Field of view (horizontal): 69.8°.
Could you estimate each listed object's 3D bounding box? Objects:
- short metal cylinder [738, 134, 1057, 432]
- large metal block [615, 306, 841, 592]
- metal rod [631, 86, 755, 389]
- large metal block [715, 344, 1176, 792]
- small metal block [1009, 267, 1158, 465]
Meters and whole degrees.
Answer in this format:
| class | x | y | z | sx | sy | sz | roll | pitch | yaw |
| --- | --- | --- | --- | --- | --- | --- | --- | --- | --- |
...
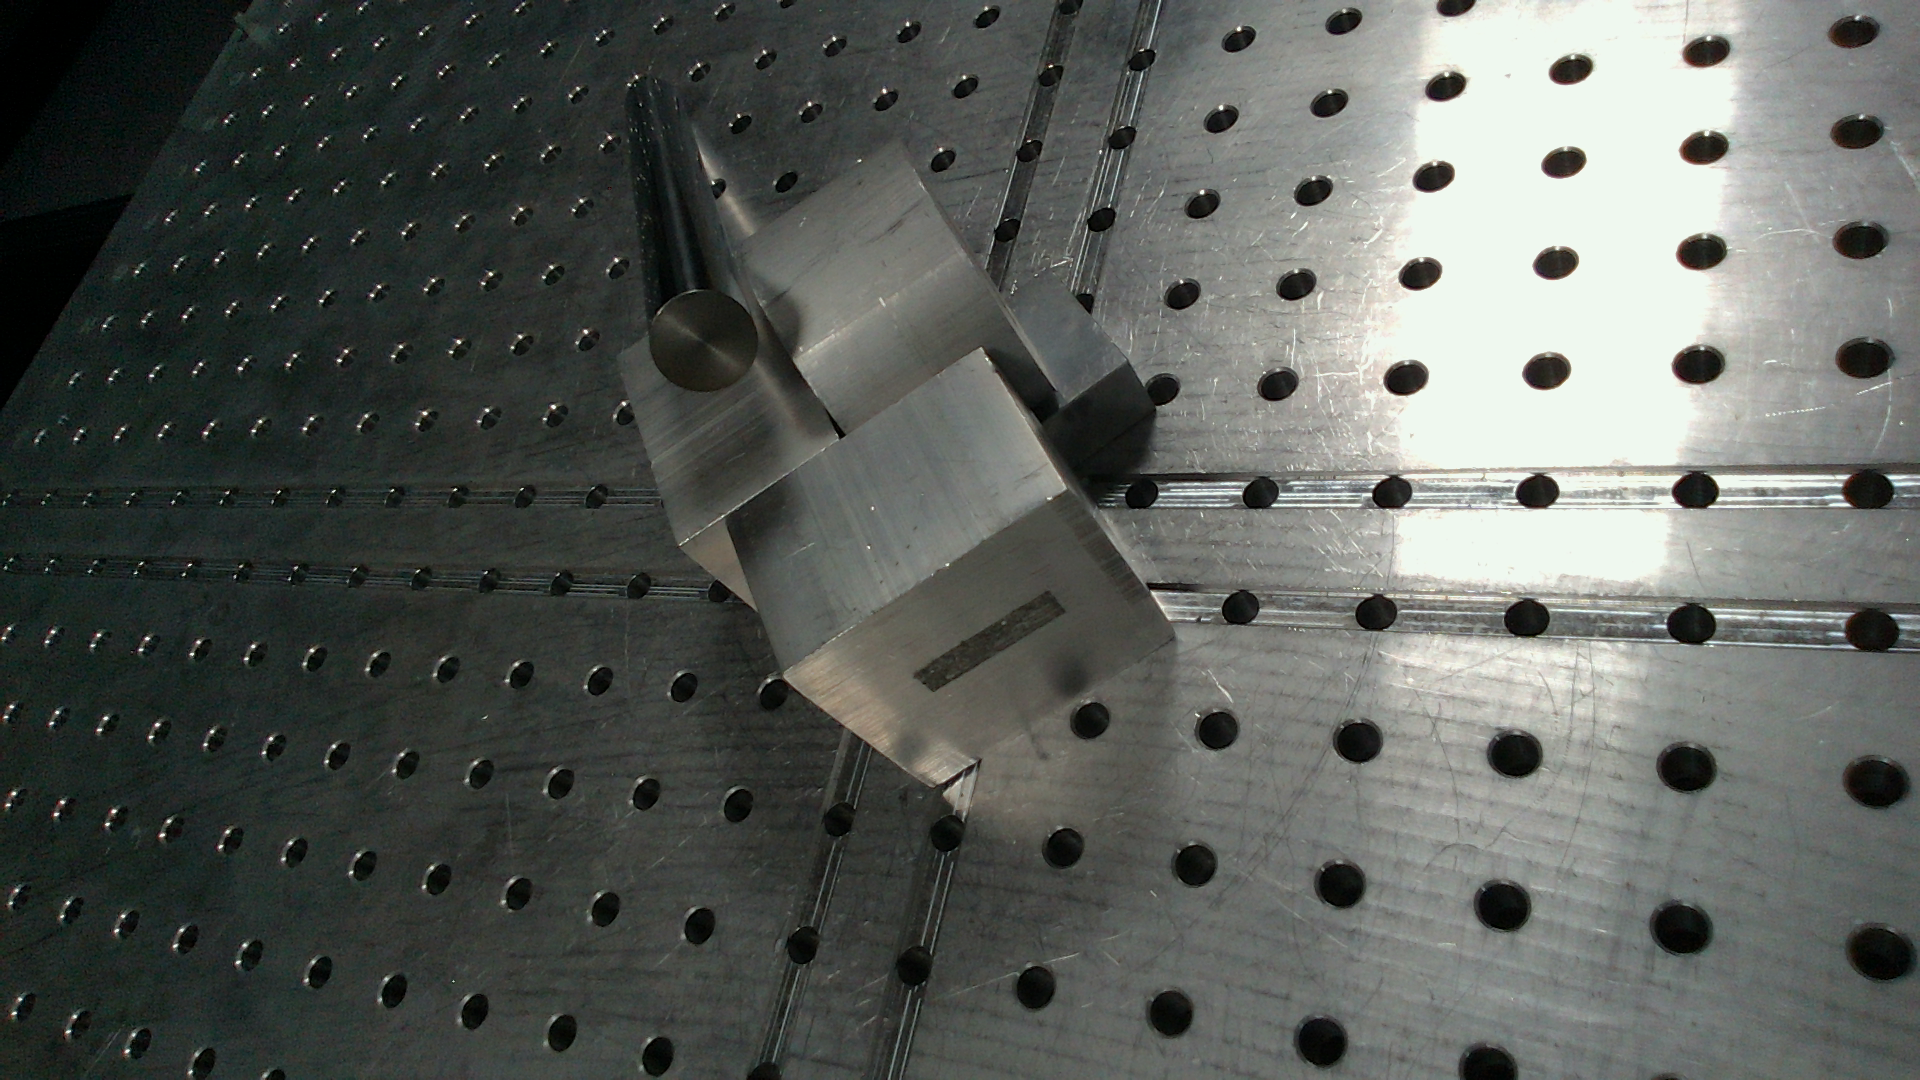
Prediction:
| class | x | y | z | sx | sy | sz | roll | pitch | yaw |
| --- | --- | --- | --- | --- | --- | --- | --- | --- | --- |
| short metal cylinder | -0.016 | -0.061 | 0.375 | 0.050 | 0.080 | 0.080 | -32 | 51 | 8 |
| large metal block | -0.048 | -0.020 | 0.401 | 0.050 | 0.080 | 0.080 | -33 | 51 | 7 |
| metal rod | -0.094 | -0.113 | 0.450 | 0.025 | 0.025 | 0.300 | -36 | 29 | 5 |
| large metal block | -0.002 | 0.010 | 0.353 | 0.080 | 0.080 | 0.050 | -33 | 51 | 7 |
| small metal block | 0.023 | -0.046 | 0.414 | 0.050 | 0.025 | 0.050 | -36 | 51 | 4 |
